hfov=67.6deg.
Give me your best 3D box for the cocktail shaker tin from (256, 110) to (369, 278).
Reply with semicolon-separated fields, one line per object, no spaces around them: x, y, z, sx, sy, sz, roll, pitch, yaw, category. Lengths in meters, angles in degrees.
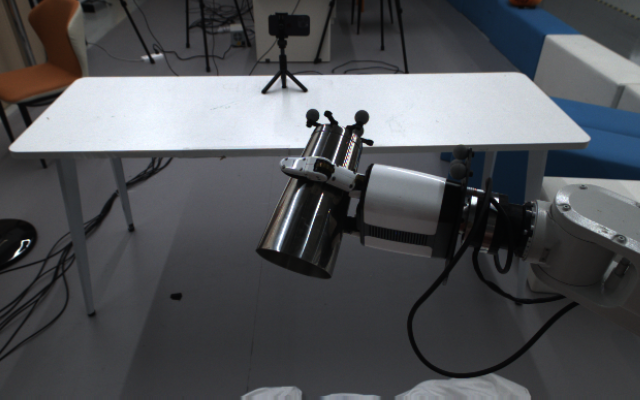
-0.003;-0.002;0.579;0.093;0.093;0.170;13;70;15;cocktail shaker tin
